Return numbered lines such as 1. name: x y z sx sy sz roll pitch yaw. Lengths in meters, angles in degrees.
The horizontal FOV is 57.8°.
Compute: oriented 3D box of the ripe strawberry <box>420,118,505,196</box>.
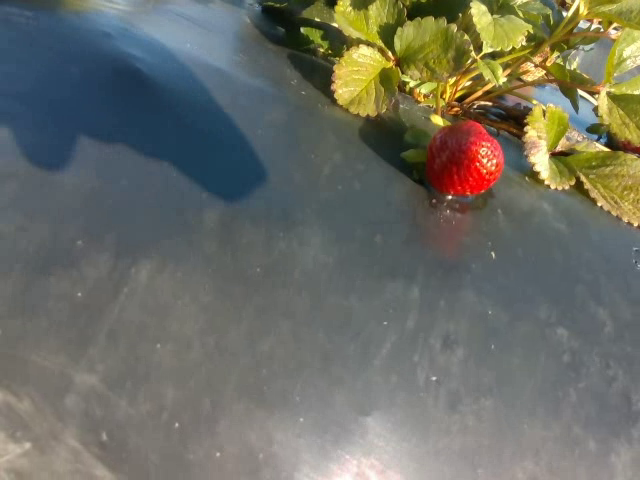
1. ripe strawberry: 0.046 -0.026 0.181 0.028 0.031 0.041 -4 0 0
